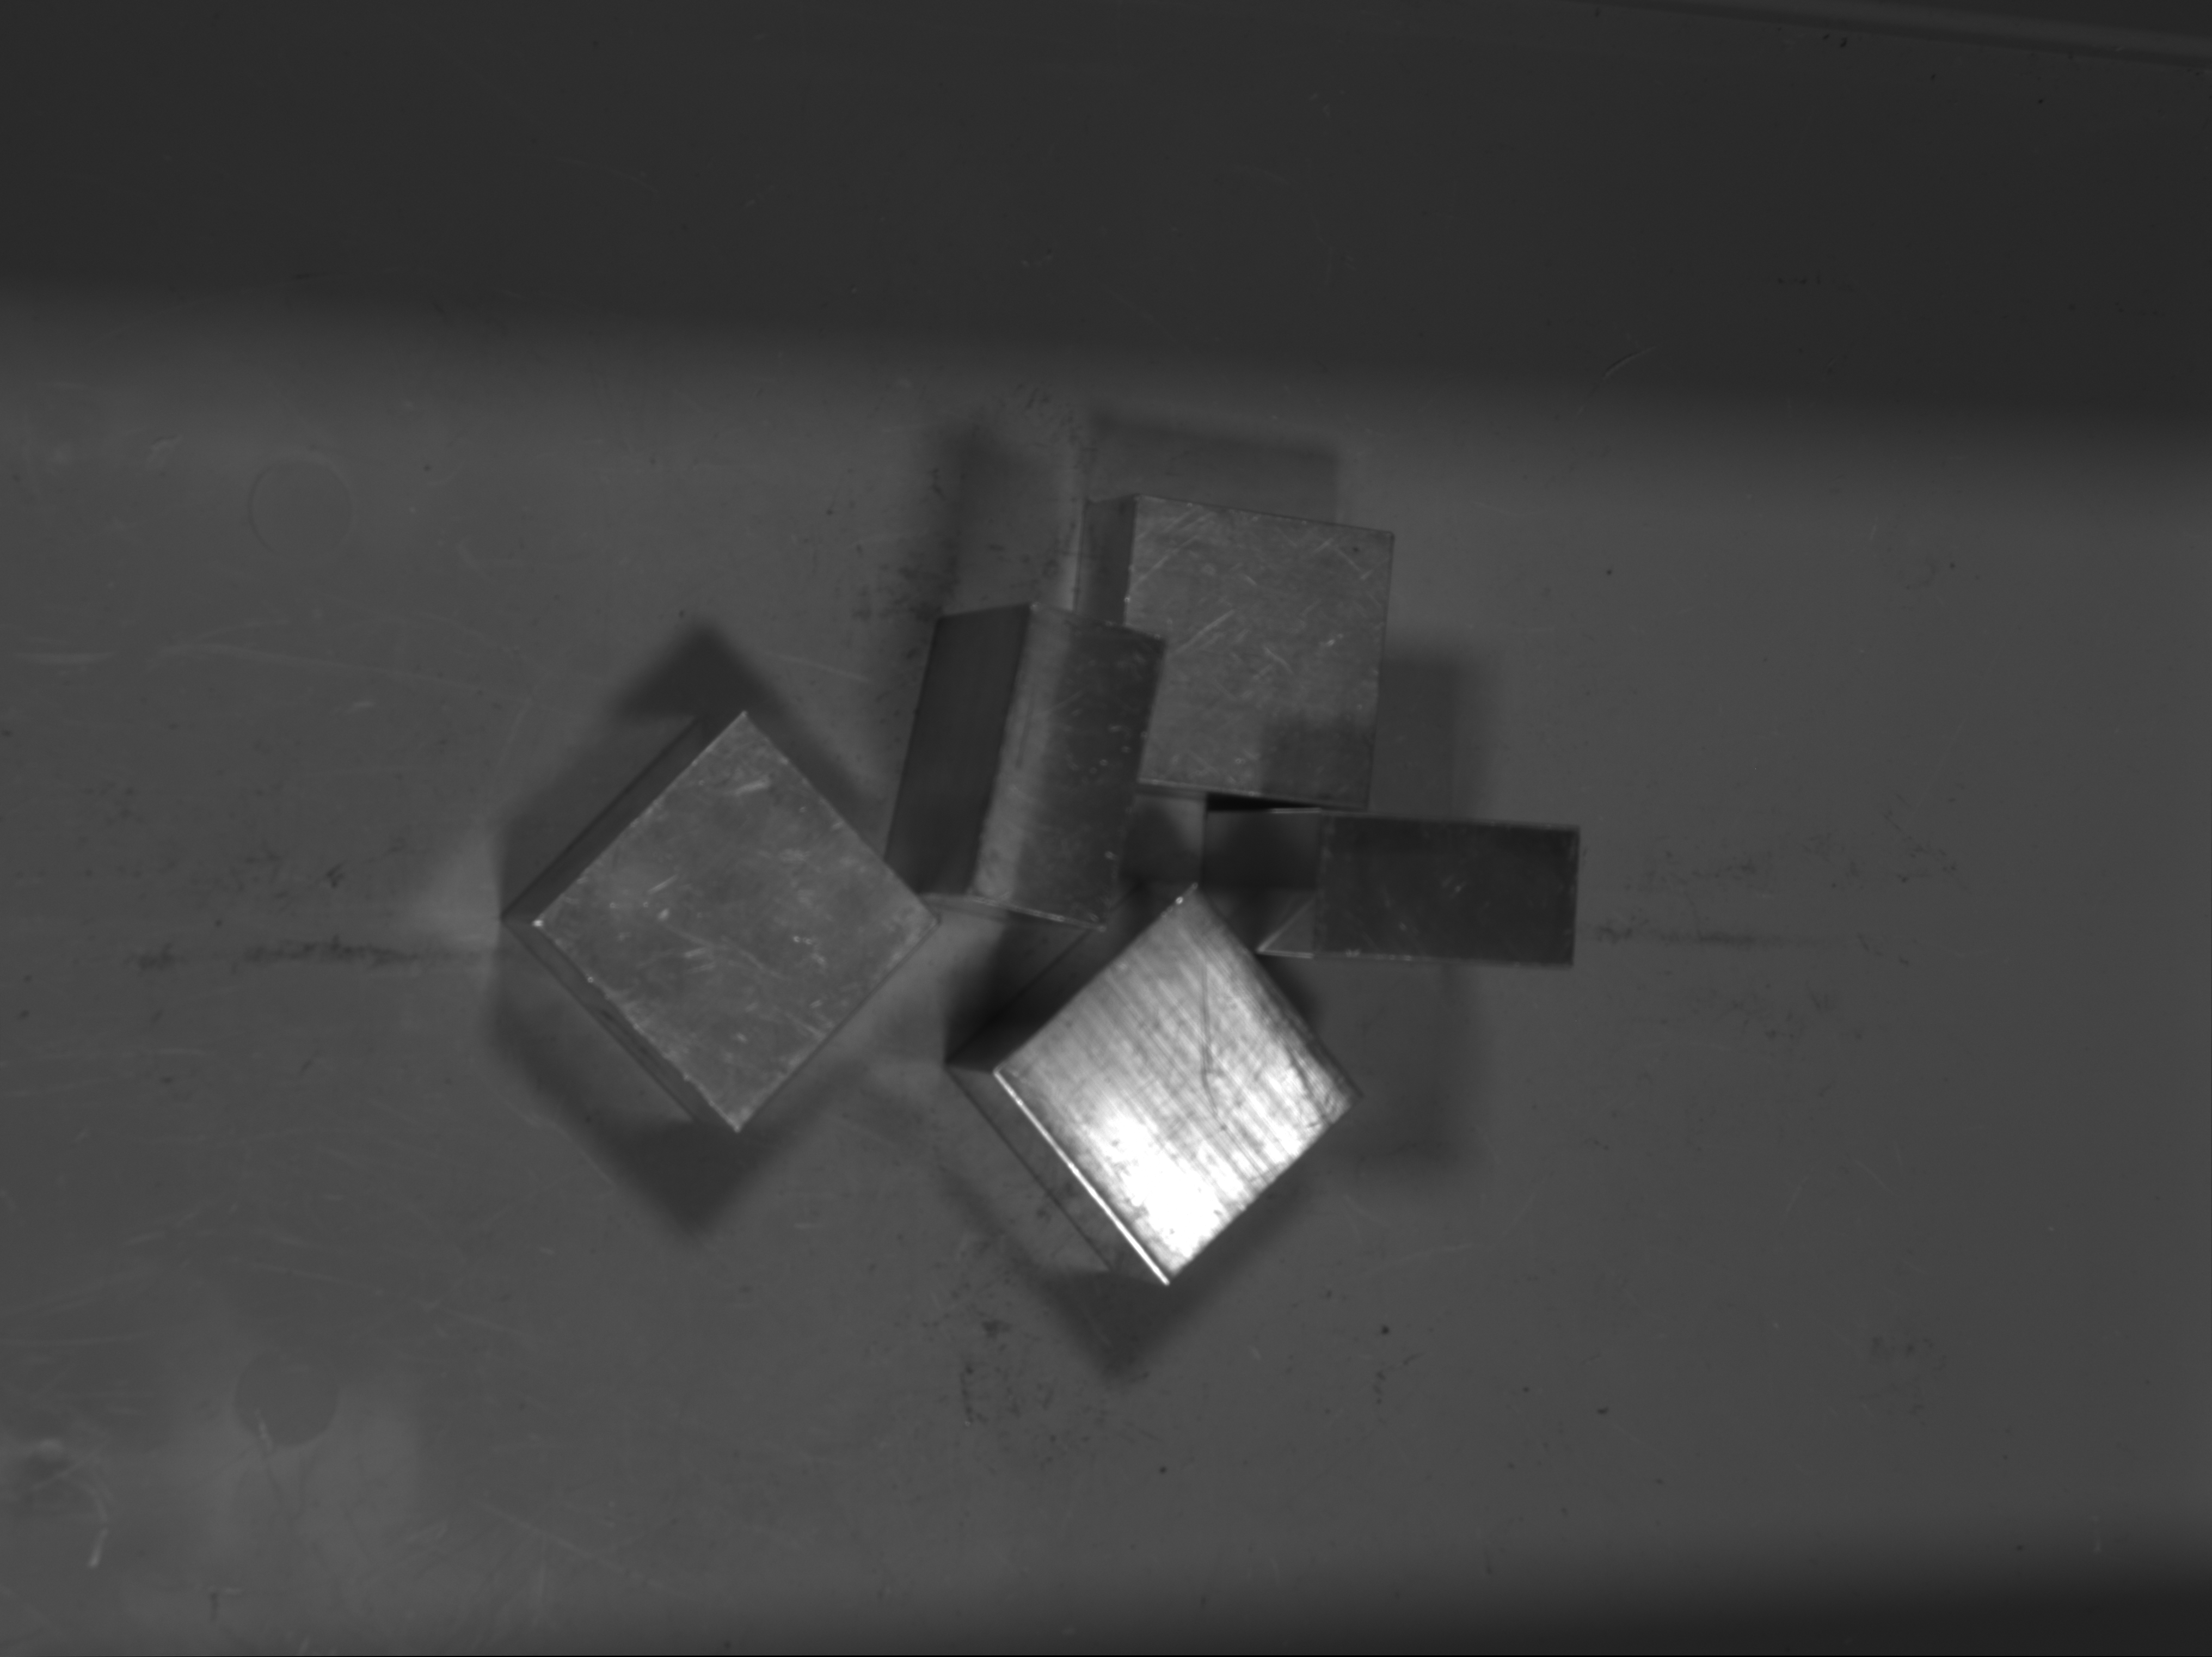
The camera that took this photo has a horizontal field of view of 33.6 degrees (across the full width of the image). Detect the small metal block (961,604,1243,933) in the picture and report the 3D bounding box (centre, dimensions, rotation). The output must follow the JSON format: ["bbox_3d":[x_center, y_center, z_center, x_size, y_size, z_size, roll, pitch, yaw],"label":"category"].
[{"bbox_3d":[-0.002,-0.010,0.627,0.025,0.050,0.050,13,85,-19],"label":"small metal block"}]

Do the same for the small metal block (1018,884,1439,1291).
[{"bbox_3d":[0.022,0.045,0.649,0.050,0.025,0.050,-42,103,-15],"label":"small metal block"}]

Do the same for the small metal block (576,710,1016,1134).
[{"bbox_3d":[-0.053,0.016,0.623,0.050,0.025,0.050,-47,104,-14],"label":"small metal block"}]

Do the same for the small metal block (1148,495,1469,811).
[{"bbox_3d":[0.034,-0.030,0.654,0.050,0.025,0.050,7,88,-20],"label":"small metal block"}]

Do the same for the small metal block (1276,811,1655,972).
[{"bbox_3d":[0.063,0.011,0.651,0.050,0.050,0.025,3,89,-20],"label":"small metal block"}]
